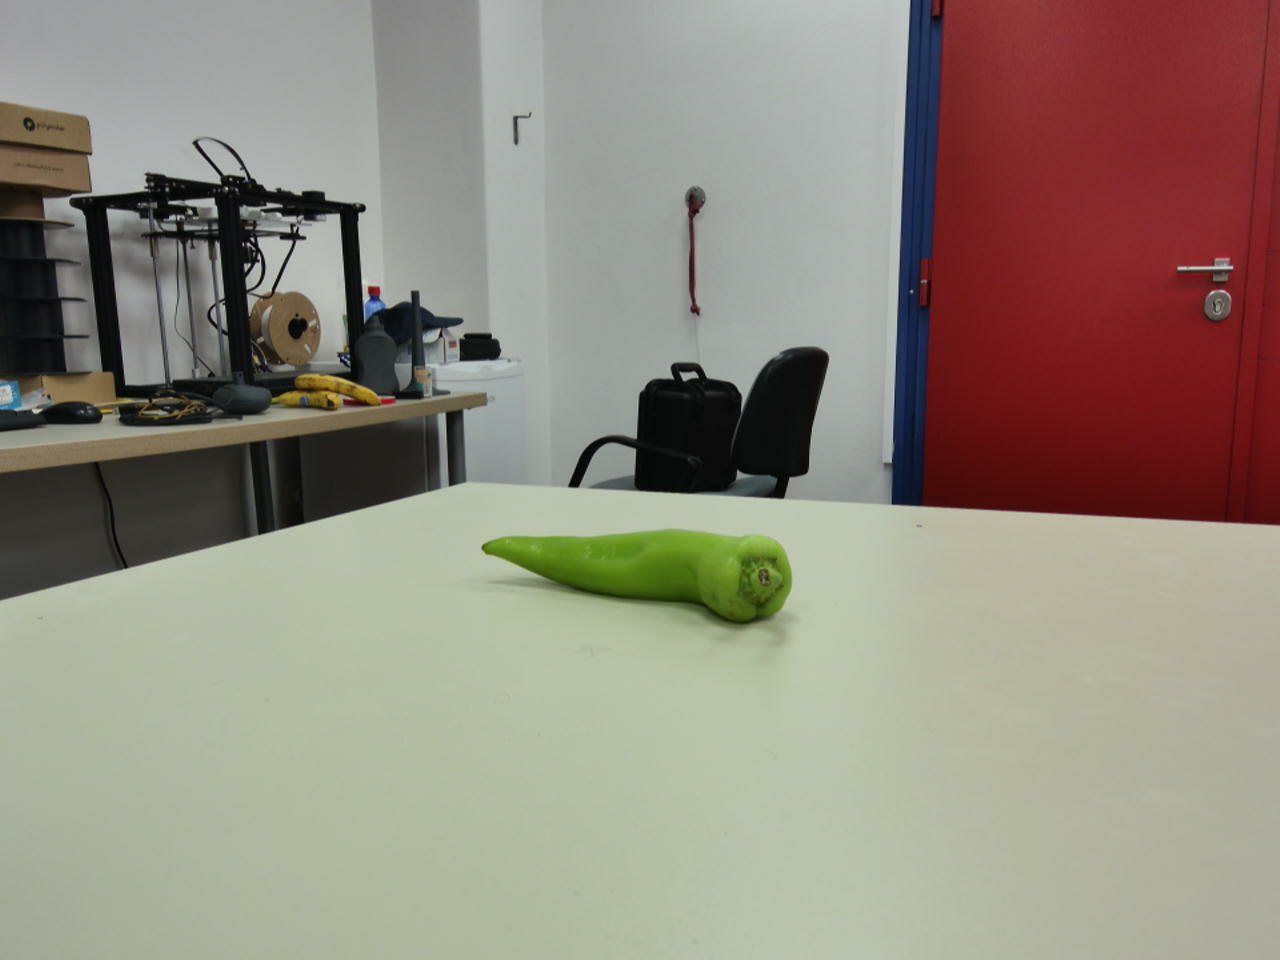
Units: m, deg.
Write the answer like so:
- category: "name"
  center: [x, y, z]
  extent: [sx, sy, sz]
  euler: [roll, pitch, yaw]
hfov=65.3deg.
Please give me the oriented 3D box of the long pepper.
- category: "long pepper"
  center: [0.003, 0.046, 0.560]
  extent: [0.205, 0.045, 0.065]
  euler: [5, 8, 40]
